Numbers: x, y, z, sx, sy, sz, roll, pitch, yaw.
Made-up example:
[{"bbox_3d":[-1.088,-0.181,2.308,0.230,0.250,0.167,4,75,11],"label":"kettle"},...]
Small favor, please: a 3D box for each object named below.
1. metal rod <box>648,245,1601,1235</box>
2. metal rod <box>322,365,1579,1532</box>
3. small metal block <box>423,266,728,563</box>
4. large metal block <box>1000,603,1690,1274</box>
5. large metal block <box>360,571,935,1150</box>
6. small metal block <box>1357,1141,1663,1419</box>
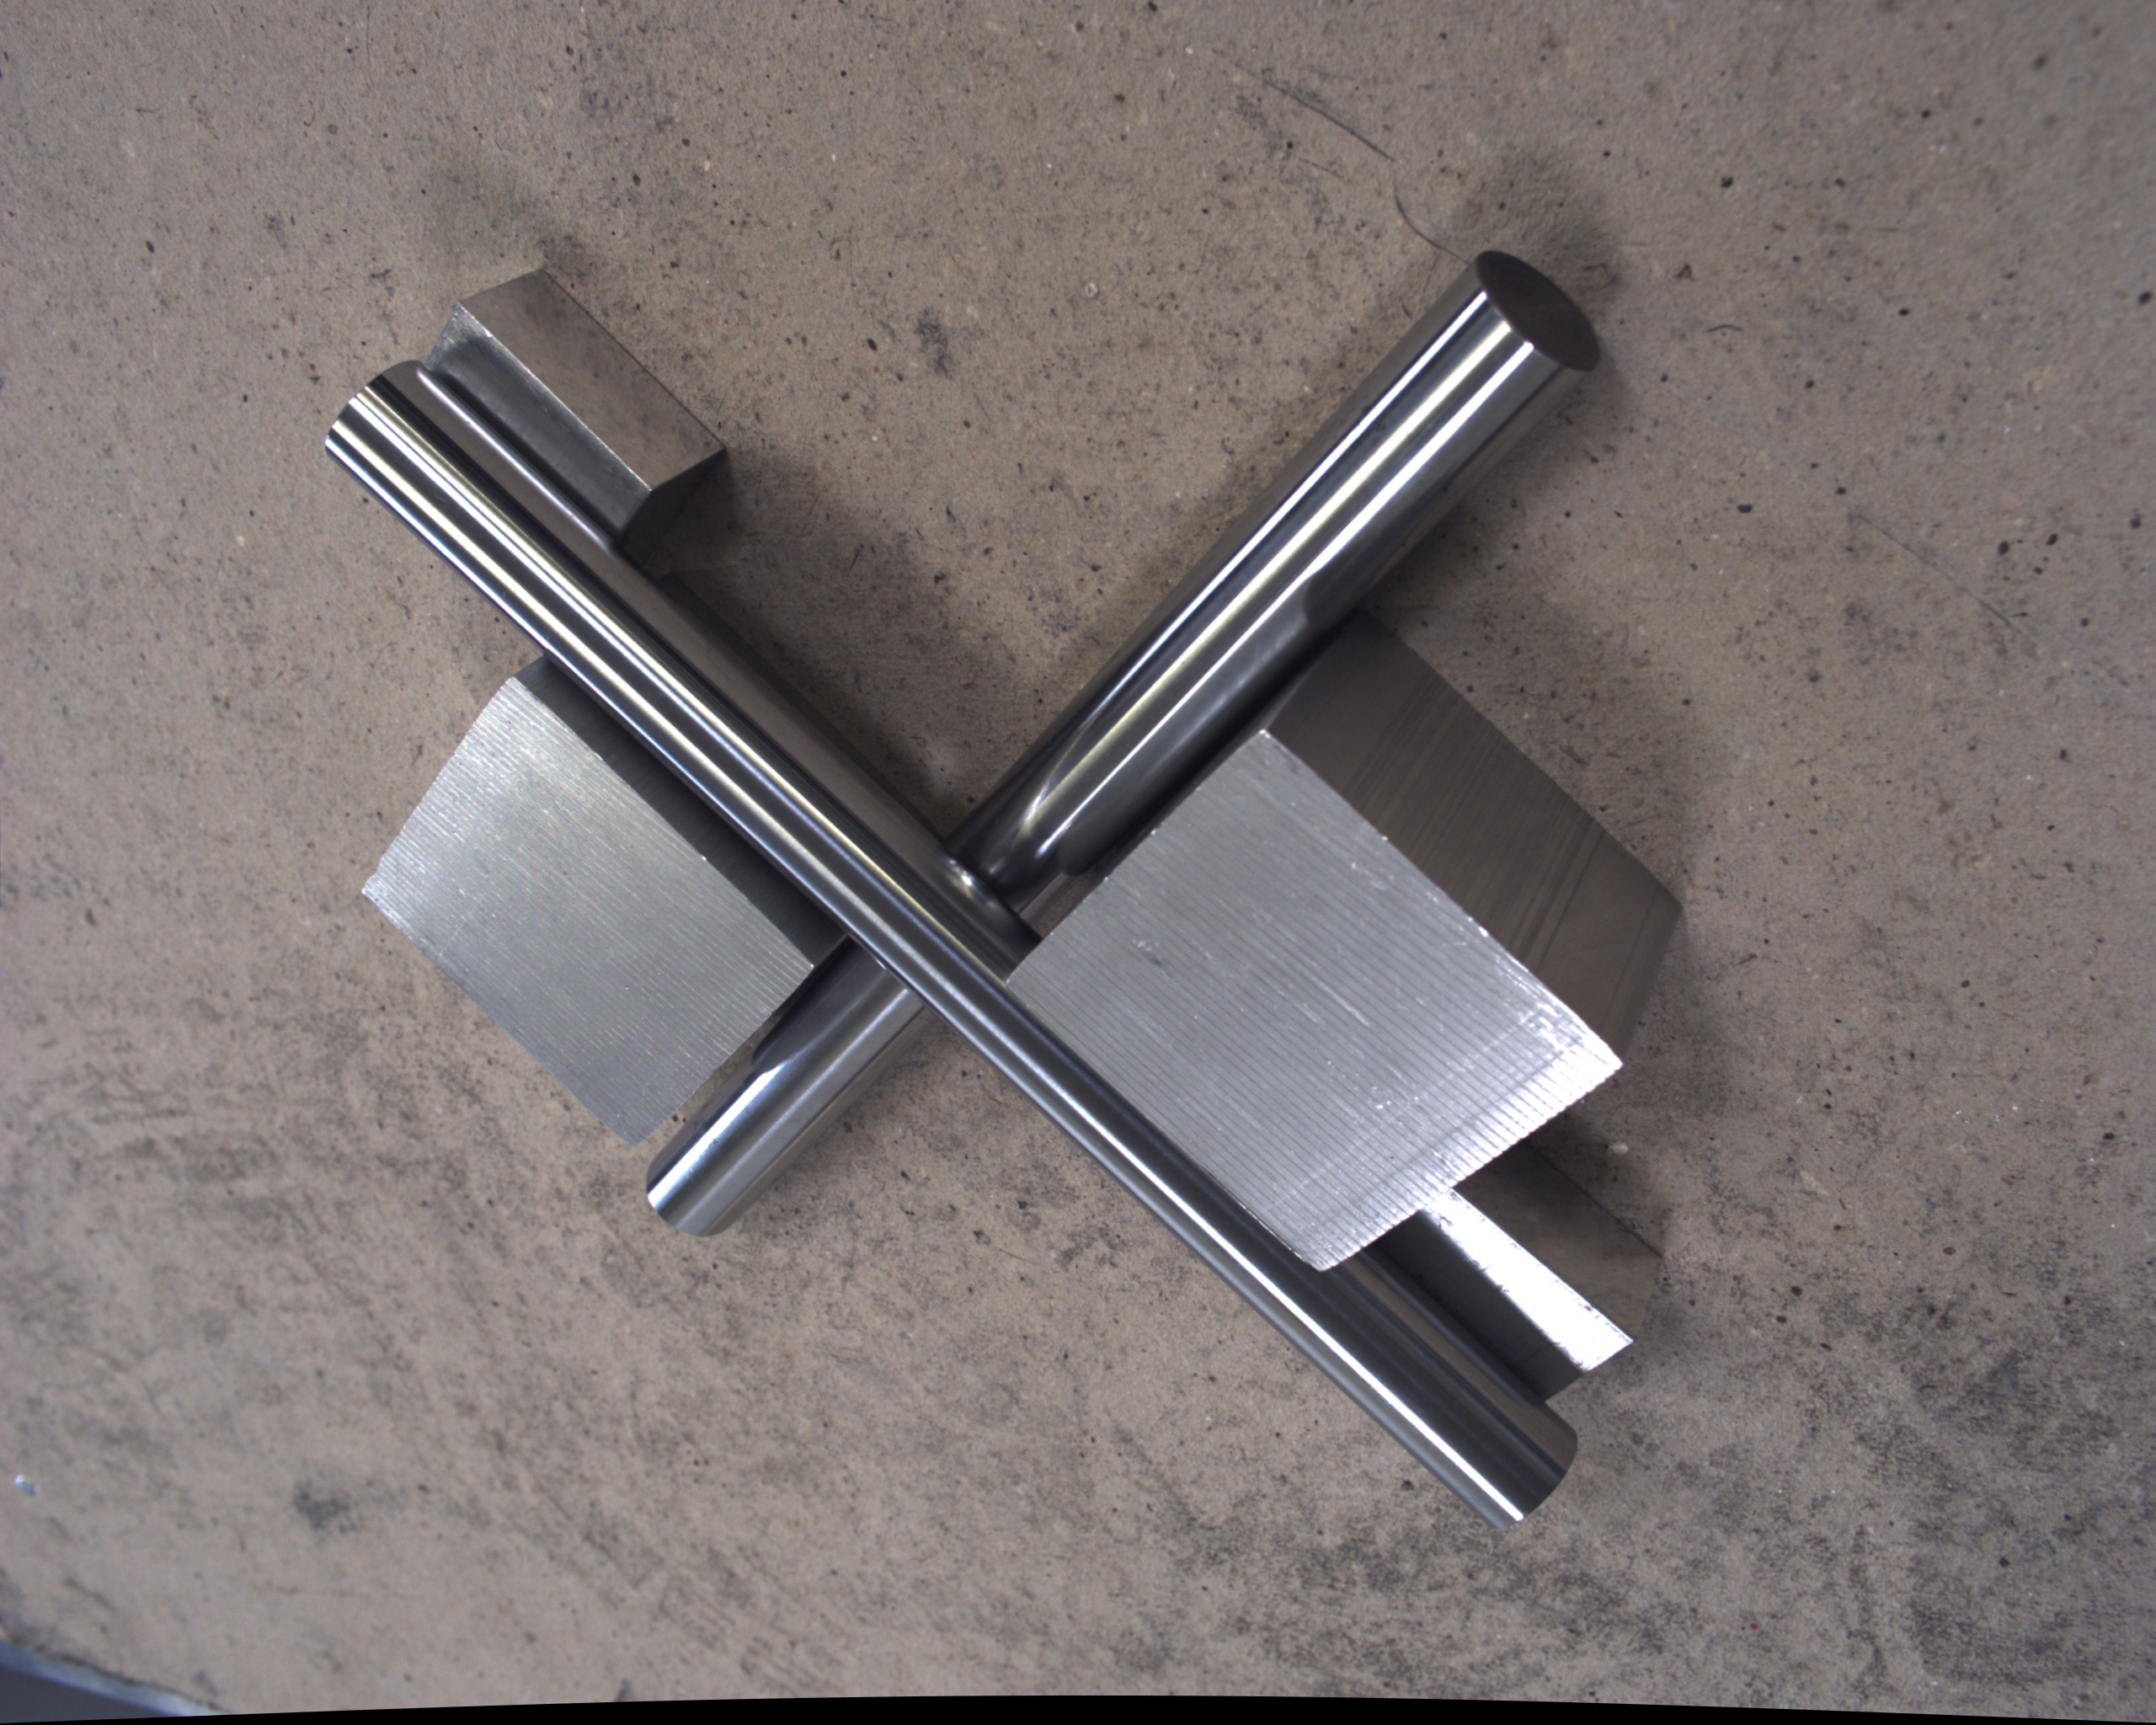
[{"bbox_3d":[-0.011,-0.003,0.413,0.025,0.025,0.298,43,129,-2],"label":"metal rod"},{"bbox_3d":[-0.023,0.017,0.398,0.300,0.025,0.025,43,129,-2],"label":"metal rod"},{"bbox_3d":[-0.106,-0.080,0.416,0.050,0.025,0.050,44,129,-3],"label":"small metal block"},{"bbox_3d":[0.047,0.015,0.376,0.080,0.050,0.080,43,129,-2],"label":"large metal block"},{"bbox_3d":[-0.090,0.001,0.438,0.080,0.050,0.080,45,129,-3],"label":"large metal block"},{"bbox_3d":[0.079,0.083,0.419,0.050,0.025,0.050,40,129,1],"label":"small metal block"}]
